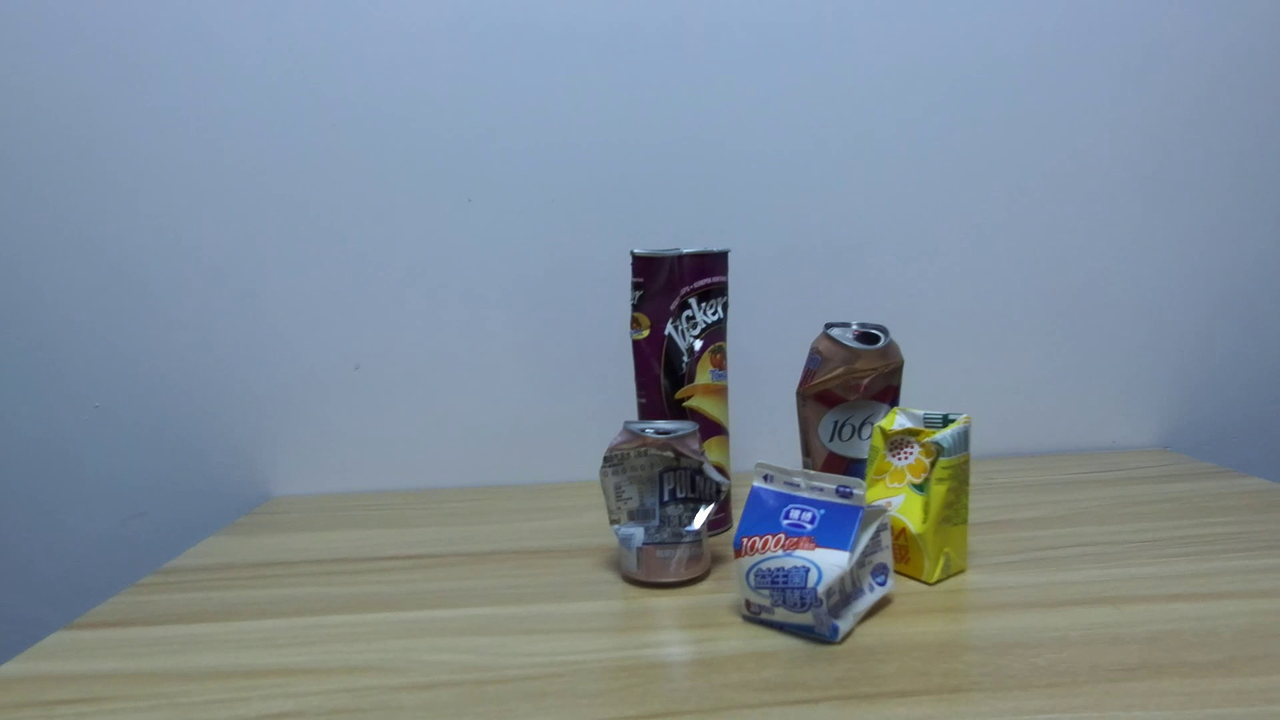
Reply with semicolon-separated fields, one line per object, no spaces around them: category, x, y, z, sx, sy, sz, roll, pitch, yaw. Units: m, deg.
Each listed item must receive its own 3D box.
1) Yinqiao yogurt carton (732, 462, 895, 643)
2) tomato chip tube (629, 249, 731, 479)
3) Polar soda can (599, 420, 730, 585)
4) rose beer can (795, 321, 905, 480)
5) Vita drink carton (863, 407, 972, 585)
Yinqiao yogurt carton;0.104;0.110;0.426;0.074;0.097;0.080;2;16;36
tomato chip tube;0.037;0.026;0.590;0.090;0.235;0.078;-1;9;-2
Polar soda can;0.019;0.098;0.500;0.074;0.114;0.070;-14;18;-39
rose beer can;0.175;0.054;0.590;0.069;0.168;0.069;7;14;35
Vita drink carton;0.192;0.092;0.499;0.047;0.109;0.071;-4;6;-33
